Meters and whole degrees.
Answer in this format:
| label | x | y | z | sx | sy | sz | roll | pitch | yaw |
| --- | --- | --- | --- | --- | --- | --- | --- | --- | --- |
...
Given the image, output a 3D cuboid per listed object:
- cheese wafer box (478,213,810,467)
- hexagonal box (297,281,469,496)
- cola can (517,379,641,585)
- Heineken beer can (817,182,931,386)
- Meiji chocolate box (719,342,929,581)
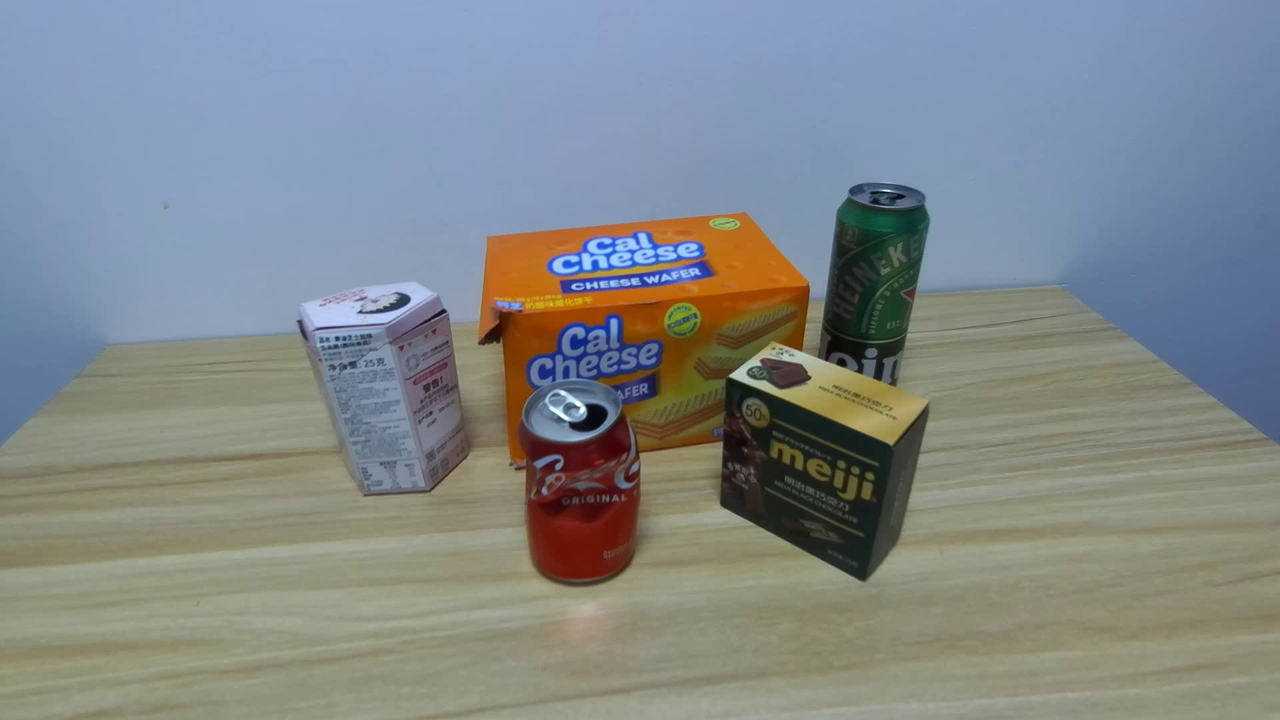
| label | x | y | z | sx | sy | sz | roll | pitch | yaw |
| --- | --- | --- | --- | --- | --- | --- | --- | --- | --- |
| cheese wafer box | -0.003 | -0.024 | 0.552 | 0.227 | 0.137 | 0.149 | -7 | 33 | -9 |
| hexagonal box | -0.174 | 0.018 | 0.493 | 0.084 | 0.135 | 0.092 | 14 | 36 | 24 |
| cola can | -0.037 | 0.072 | 0.417 | 0.066 | 0.117 | 0.065 | -13 | 34 | -17 |
| Heineken beer can | 0.177 | -0.047 | 0.547 | 0.067 | 0.169 | 0.067 | -1 | 32 | 1 |
| Meiji chocolate box | 0.108 | 0.061 | 0.434 | 0.109 | 0.109 | 0.056 | 24 | 40 | 34 |
